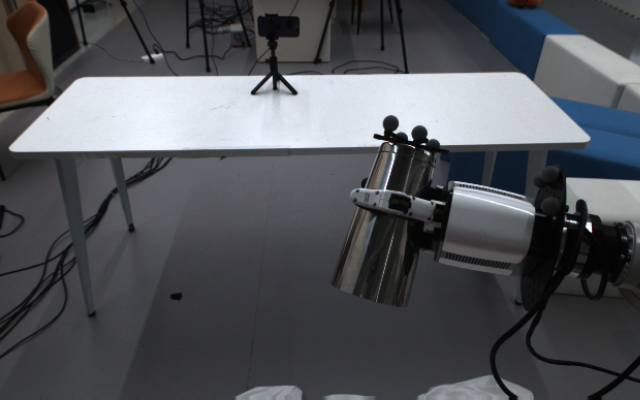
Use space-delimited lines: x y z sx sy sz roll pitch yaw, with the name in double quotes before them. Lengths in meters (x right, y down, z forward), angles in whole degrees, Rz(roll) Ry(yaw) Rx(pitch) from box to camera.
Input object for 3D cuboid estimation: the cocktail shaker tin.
"cocktail shaker tin" 0.081 0.026 0.553 0.093 0.170 0.093 16 -2 1
